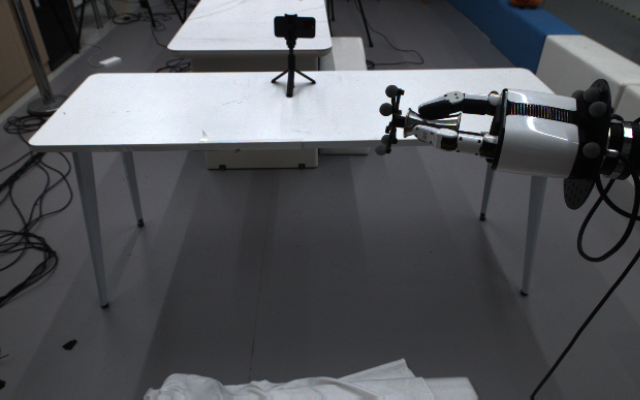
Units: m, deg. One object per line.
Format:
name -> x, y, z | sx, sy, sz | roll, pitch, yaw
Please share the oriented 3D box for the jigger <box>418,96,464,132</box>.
jigger -> 0.154, -0.100, 0.640 | 0.071, 0.043, 0.043 | 11, 36, 15
